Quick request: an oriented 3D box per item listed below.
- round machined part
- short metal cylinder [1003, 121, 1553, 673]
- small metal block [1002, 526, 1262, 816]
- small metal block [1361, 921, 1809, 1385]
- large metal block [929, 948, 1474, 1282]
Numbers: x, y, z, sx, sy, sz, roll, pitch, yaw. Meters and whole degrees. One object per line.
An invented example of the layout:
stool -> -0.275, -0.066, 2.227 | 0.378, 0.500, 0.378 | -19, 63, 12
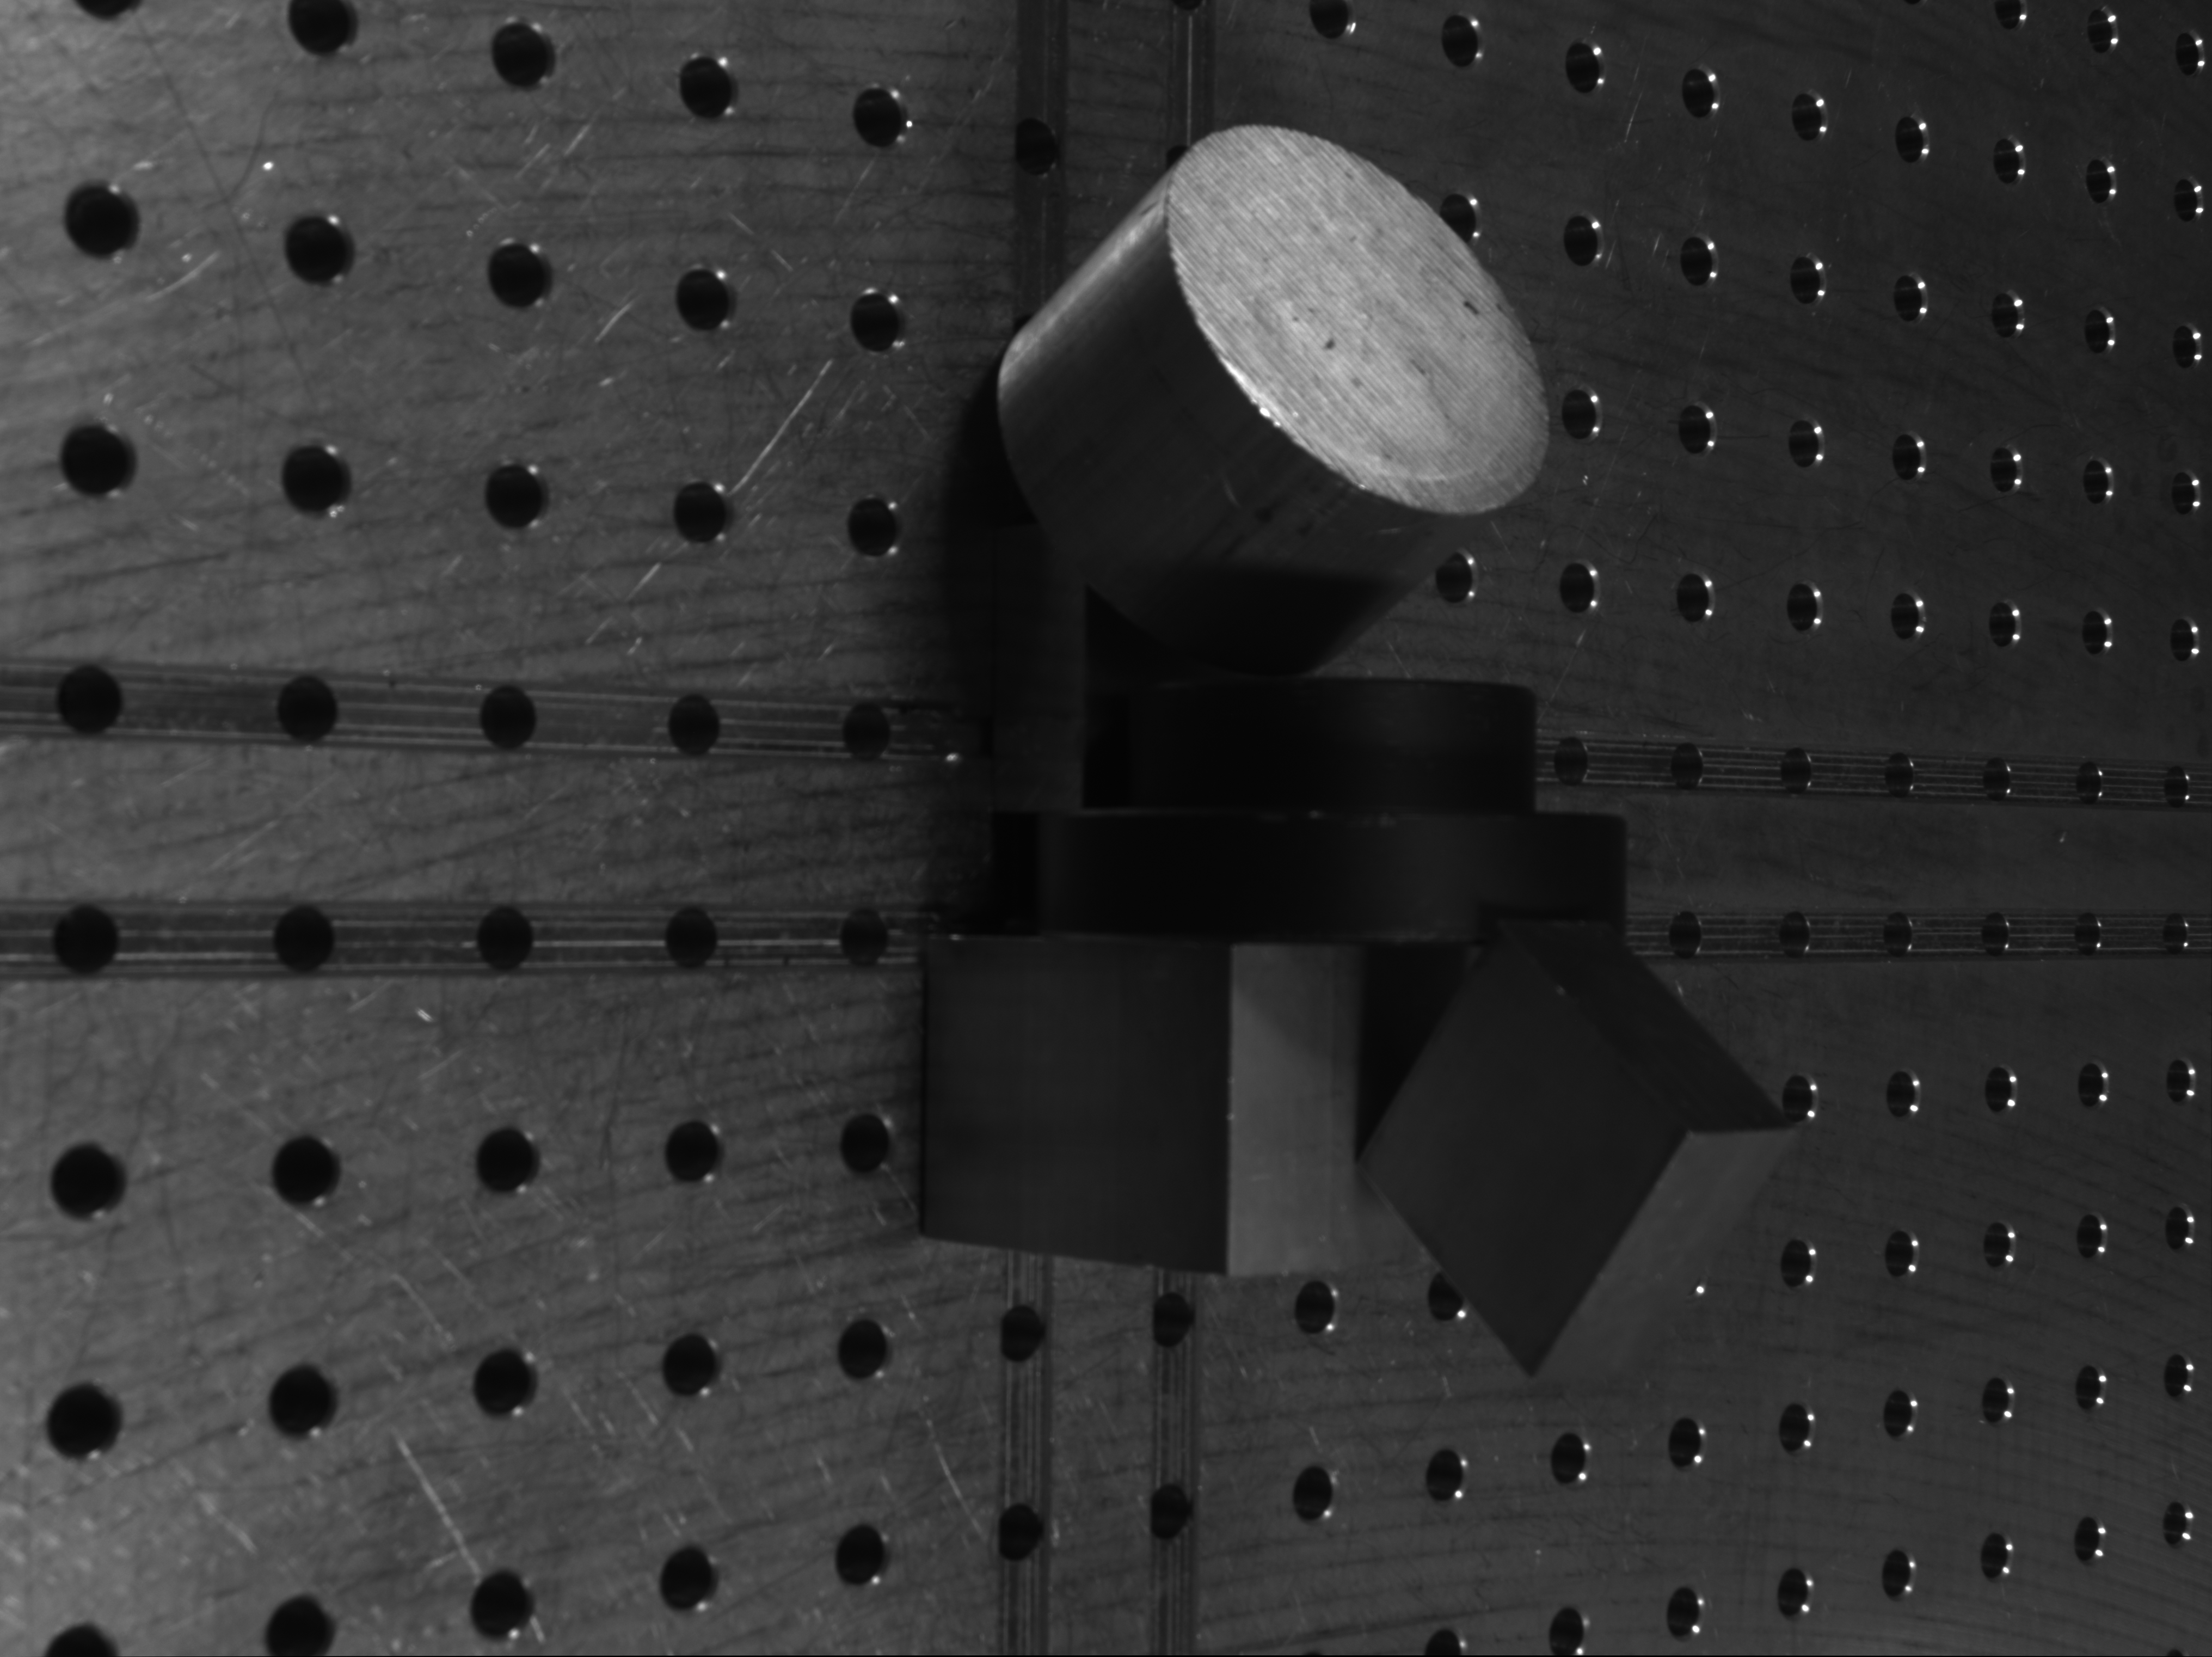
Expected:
round machined part -> 0.039, -0.002, 0.612 | 0.098, 0.098, 0.042 | 1, 89, -40
short metal cylinder -> 0.030, -0.073, 0.627 | 0.080, 0.050, 0.080 | 23, 47, -26
small metal block -> 0.009, -0.027, 0.647 | 0.050, 0.025, 0.050 | 1, 89, -40
small metal block -> 0.073, 0.050, 0.567 | 0.025, 0.050, 0.050 | 2, 127, -40
large metal block -> 0.026, 0.046, 0.625 | 0.080, 0.080, 0.050 | 1, 89, -40
